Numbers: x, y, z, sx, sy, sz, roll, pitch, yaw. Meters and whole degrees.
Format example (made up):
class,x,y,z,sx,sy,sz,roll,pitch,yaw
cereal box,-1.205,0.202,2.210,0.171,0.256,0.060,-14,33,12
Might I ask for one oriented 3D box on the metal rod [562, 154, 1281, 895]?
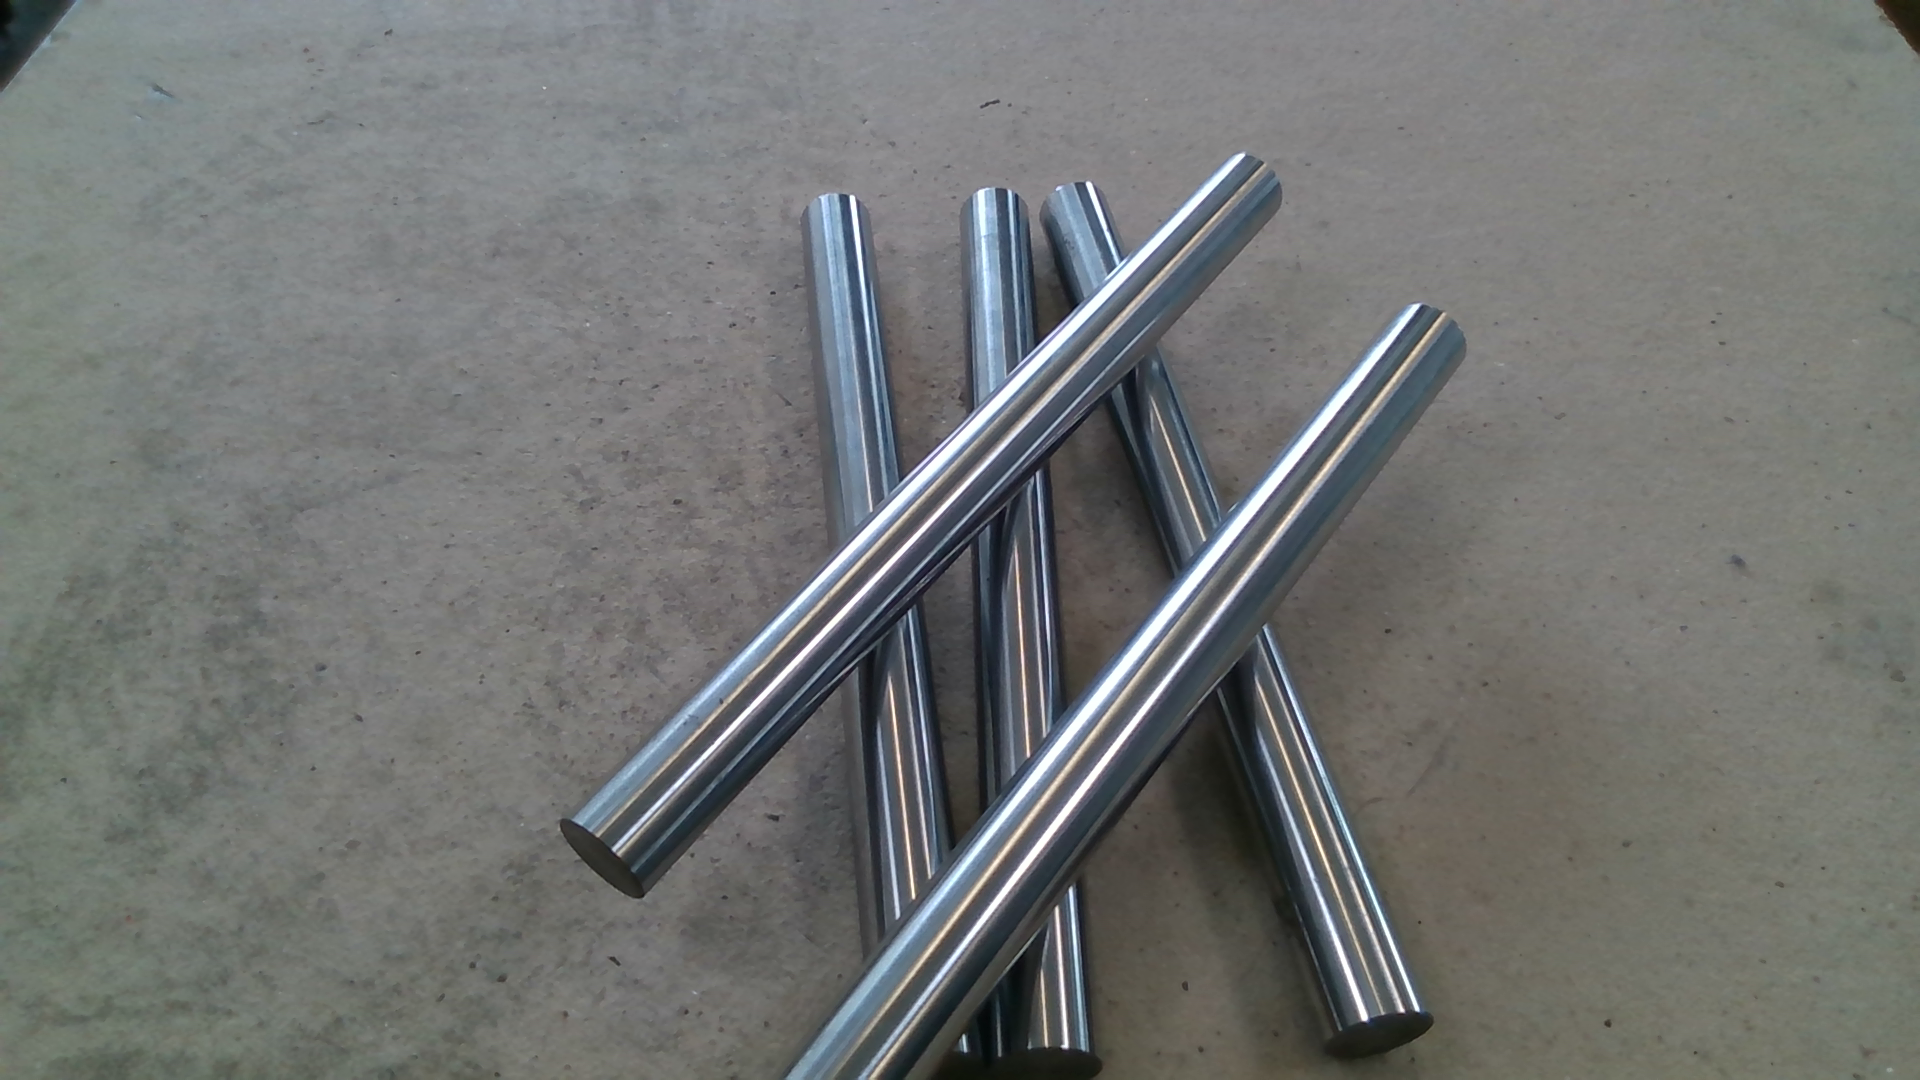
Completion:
class,x,y,z,sx,sy,sz,roll,pitch,yaw
metal rod,0.009,-0.024,0.381,0.025,0.025,0.299,29,56,22

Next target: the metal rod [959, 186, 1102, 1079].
class,x,y,z,sx,sy,sz,roll,pitch,yaw
metal rod,0.015,-0.001,0.395,0.025,0.025,0.299,-1,50,-1

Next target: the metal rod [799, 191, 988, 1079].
class,x,y,z,sx,sy,sz,roll,pitch,yaw
metal rod,-0.025,0.001,0.394,0.025,0.025,0.299,-6,50,-5

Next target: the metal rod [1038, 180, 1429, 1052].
class,x,y,z,sx,sy,sz,roll,pitch,yaw
metal rod,0.066,-0.005,0.398,0.025,0.025,0.299,-8,51,-6

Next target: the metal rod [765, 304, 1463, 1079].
class,x,y,z,sx,sy,sz,roll,pitch,yaw
metal rod,0.049,0.033,0.334,0.025,0.025,0.299,30,56,22
